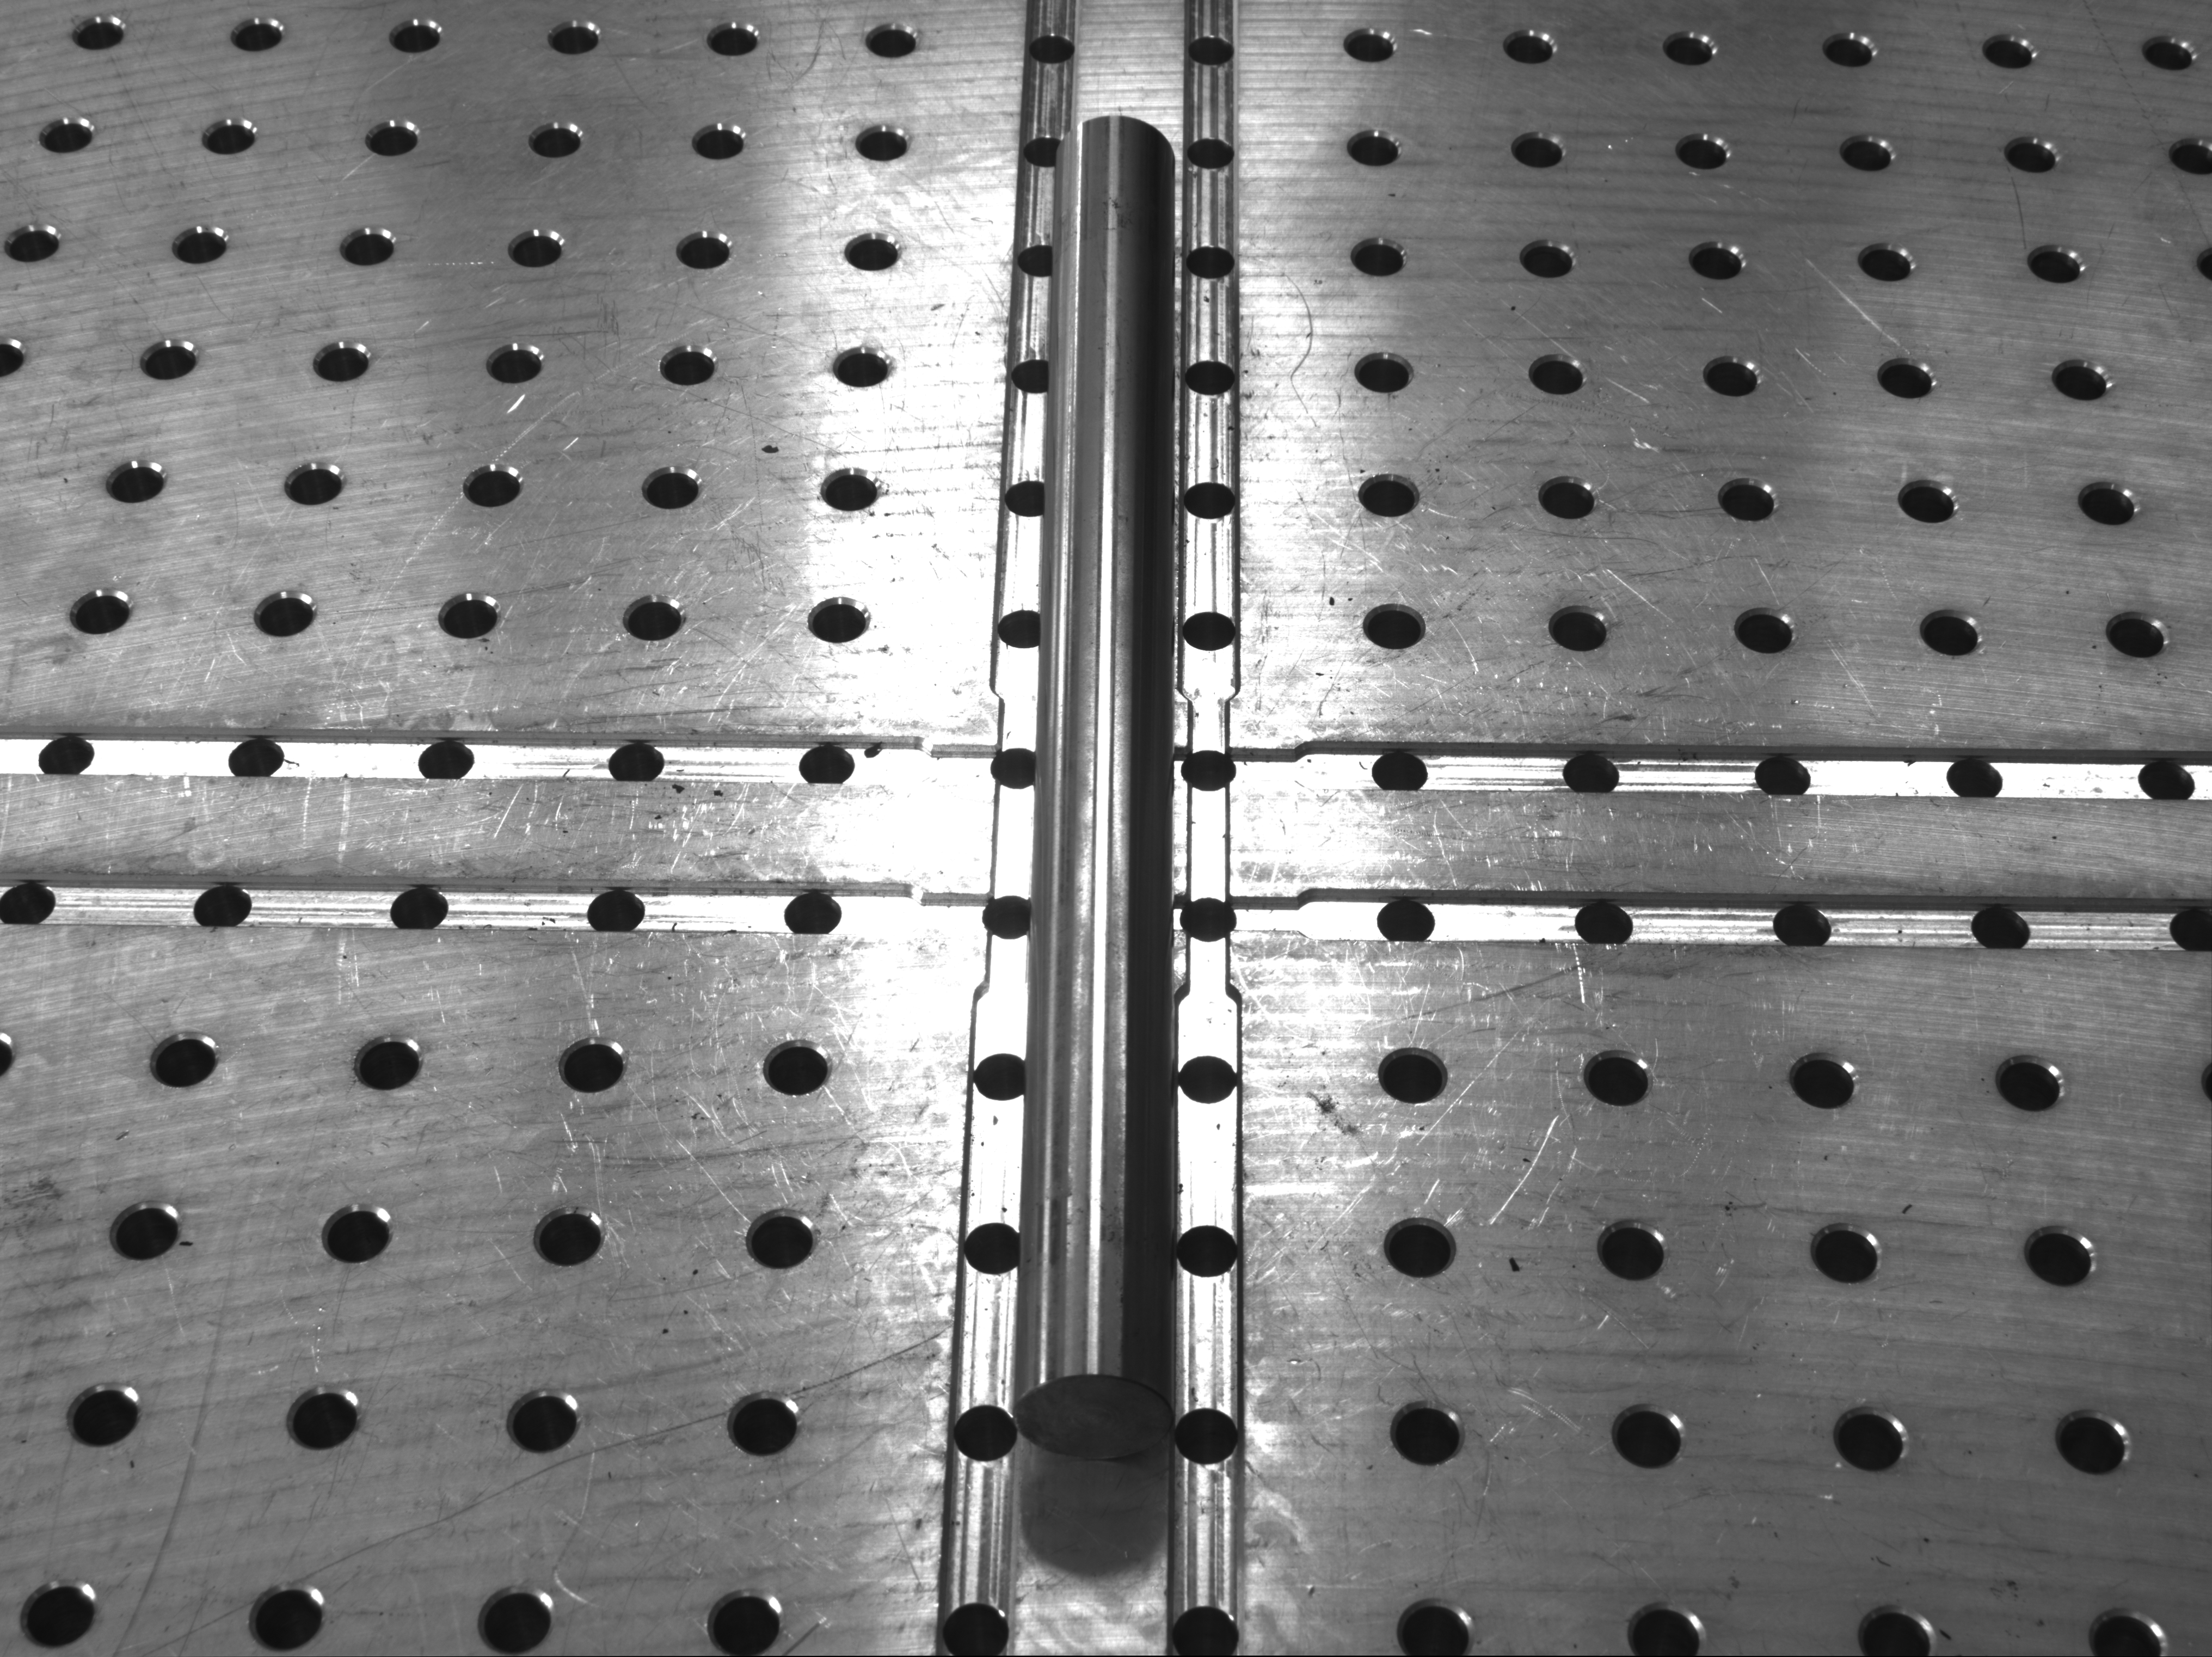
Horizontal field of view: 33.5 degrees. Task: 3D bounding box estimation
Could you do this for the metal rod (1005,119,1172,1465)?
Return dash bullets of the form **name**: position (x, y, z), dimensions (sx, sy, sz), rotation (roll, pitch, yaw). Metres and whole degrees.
- **metal rod**: position (-0.001, -0.023, 0.665), dimensions (0.025, 0.025, 0.300), rotation (1, 50, 1)
